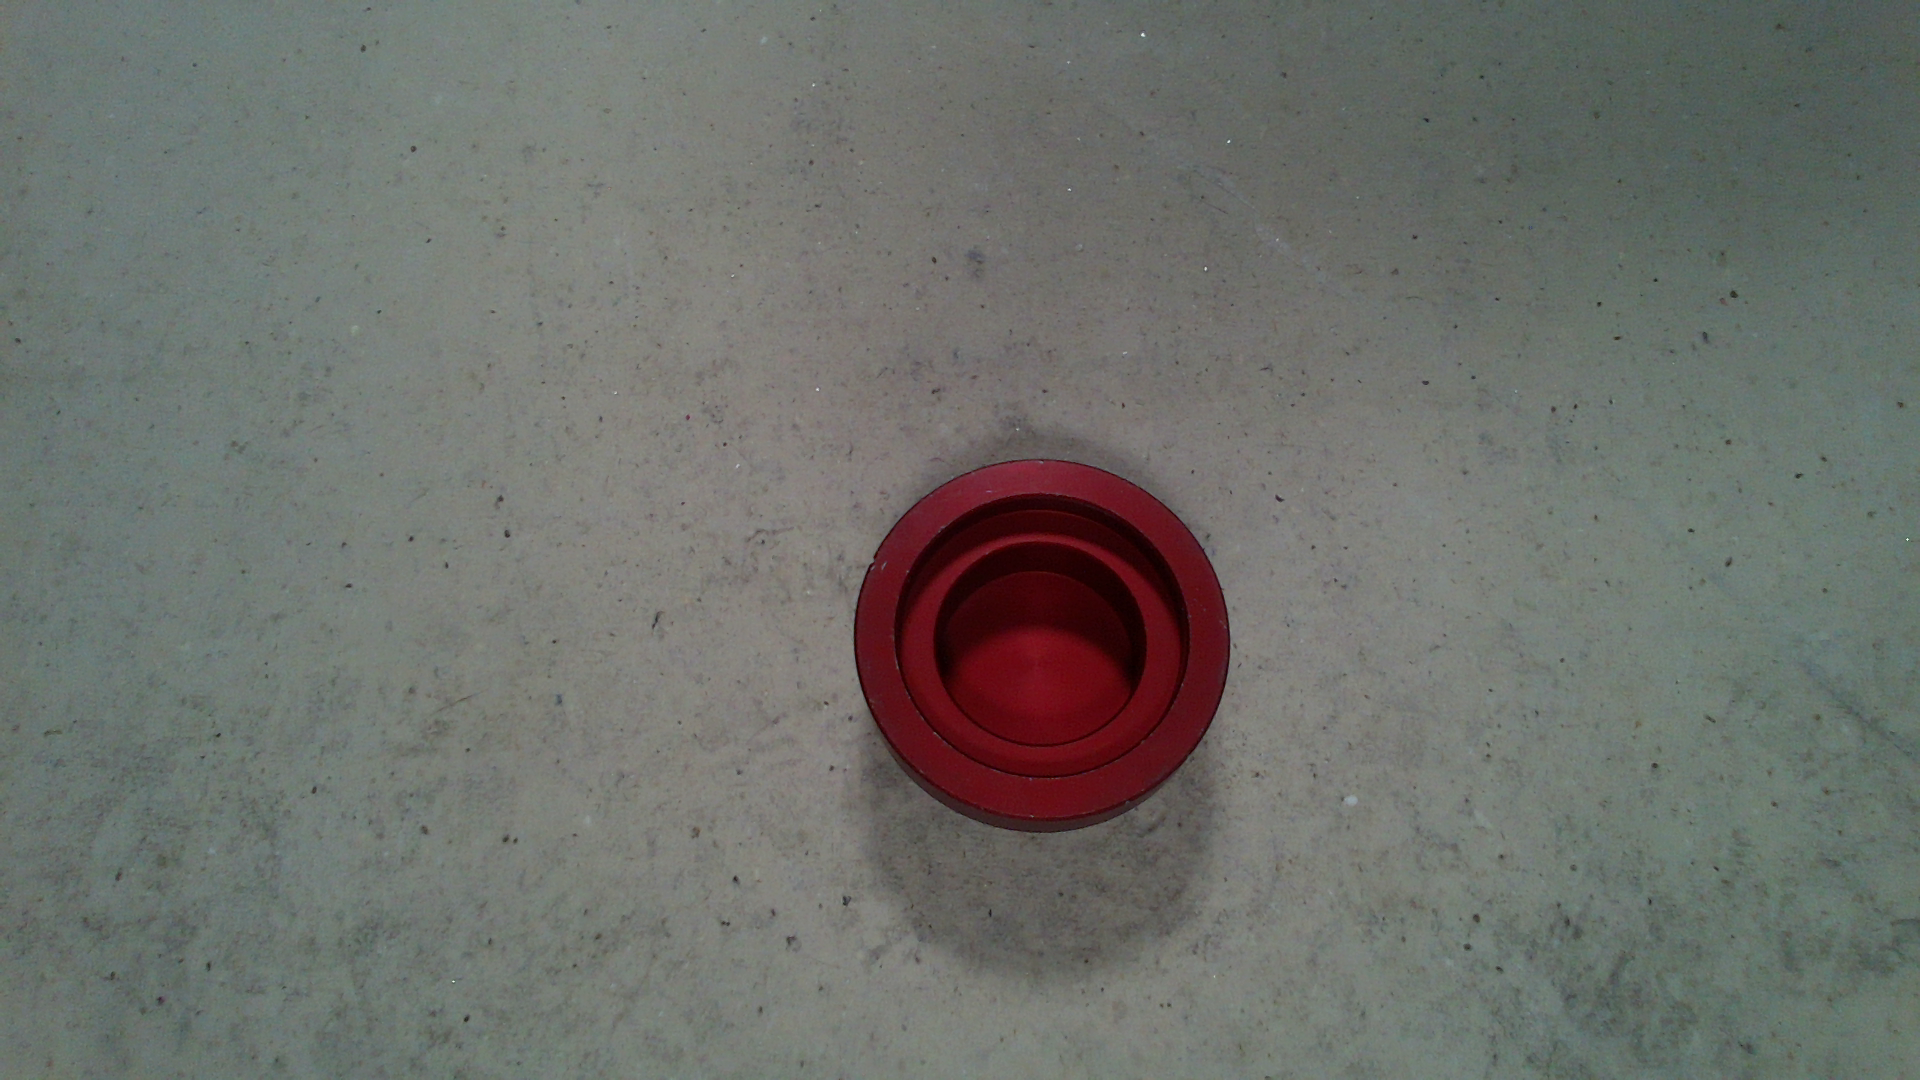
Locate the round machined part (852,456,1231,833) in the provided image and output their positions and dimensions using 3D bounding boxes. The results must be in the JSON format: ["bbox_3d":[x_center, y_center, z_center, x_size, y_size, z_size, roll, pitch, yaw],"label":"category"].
[{"bbox_3d":[0.021,0.030,0.375,0.098,0.042,0.098,0,70,0],"label":"round machined part"}]
